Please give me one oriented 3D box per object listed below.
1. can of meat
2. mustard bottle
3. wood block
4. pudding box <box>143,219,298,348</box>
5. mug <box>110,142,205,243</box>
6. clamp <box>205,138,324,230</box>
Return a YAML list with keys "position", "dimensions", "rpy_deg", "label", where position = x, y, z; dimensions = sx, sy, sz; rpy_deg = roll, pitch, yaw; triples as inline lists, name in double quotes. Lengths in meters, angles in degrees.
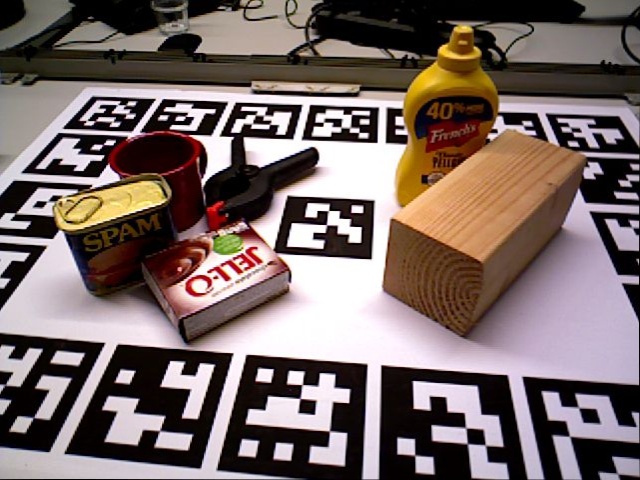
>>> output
- position: [-0.185, -0.005, 0.499]
  dimensions: [0.100, 0.085, 0.057]
  rpy_deg: [-18, 46, -18]
  label: "can of meat"
- position: [0.133, -0.123, 0.548]
  dimensions: [0.096, 0.196, 0.057]
  rpy_deg: [0, 42, 1]
  label: "mustard bottle"
- position: [0.166, -0.011, 0.507]
  dimensions: [0.090, 0.093, 0.201]
  rpy_deg: [30, 48, 32]
  label: "wood block"
- position: [-0.089, 0.036, 0.494]
  dimensions: [0.111, 0.039, 0.090]
  rpy_deg: [-24, 47, -26]
  label: "pudding box"
- position: [-0.165, -0.053, 0.596]
  dimensions: [0.093, 0.083, 0.114]
  rpy_deg: [19, 47, 20]
  label: "mug"
- position: [-0.080, -0.071, 0.621]
  dimensions: [0.122, 0.037, 0.161]
  rpy_deg: [18, 47, 17]
  label: "clamp"
